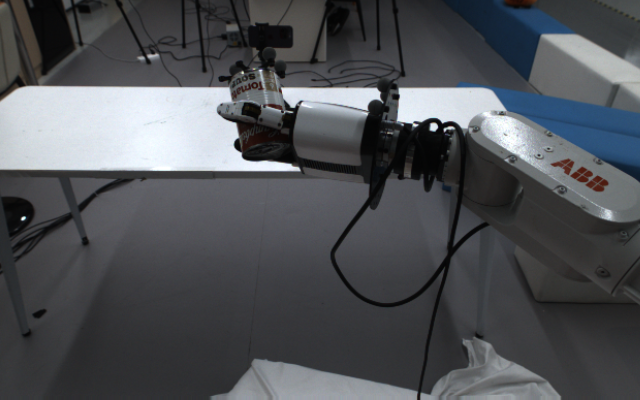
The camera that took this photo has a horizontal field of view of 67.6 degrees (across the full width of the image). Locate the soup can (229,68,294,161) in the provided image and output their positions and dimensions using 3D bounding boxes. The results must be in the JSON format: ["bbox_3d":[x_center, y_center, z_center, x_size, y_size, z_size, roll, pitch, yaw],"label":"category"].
[{"bbox_3d":[-0.075,-0.108,0.626,0.067,0.067,0.101,-10,79,-17],"label":"soup can"}]
